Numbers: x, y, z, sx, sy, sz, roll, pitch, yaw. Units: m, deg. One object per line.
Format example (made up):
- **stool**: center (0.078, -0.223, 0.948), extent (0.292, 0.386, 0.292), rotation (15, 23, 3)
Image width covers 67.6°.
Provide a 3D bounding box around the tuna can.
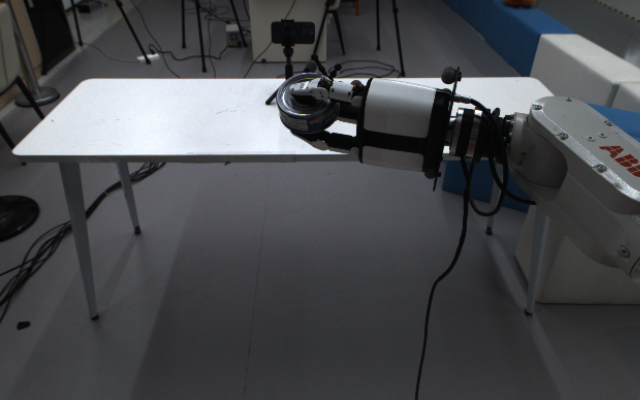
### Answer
- **tuna can**: center (-0.016, -0.136, 0.666), extent (0.085, 0.034, 0.085), rotation (-4, 58, 6)
